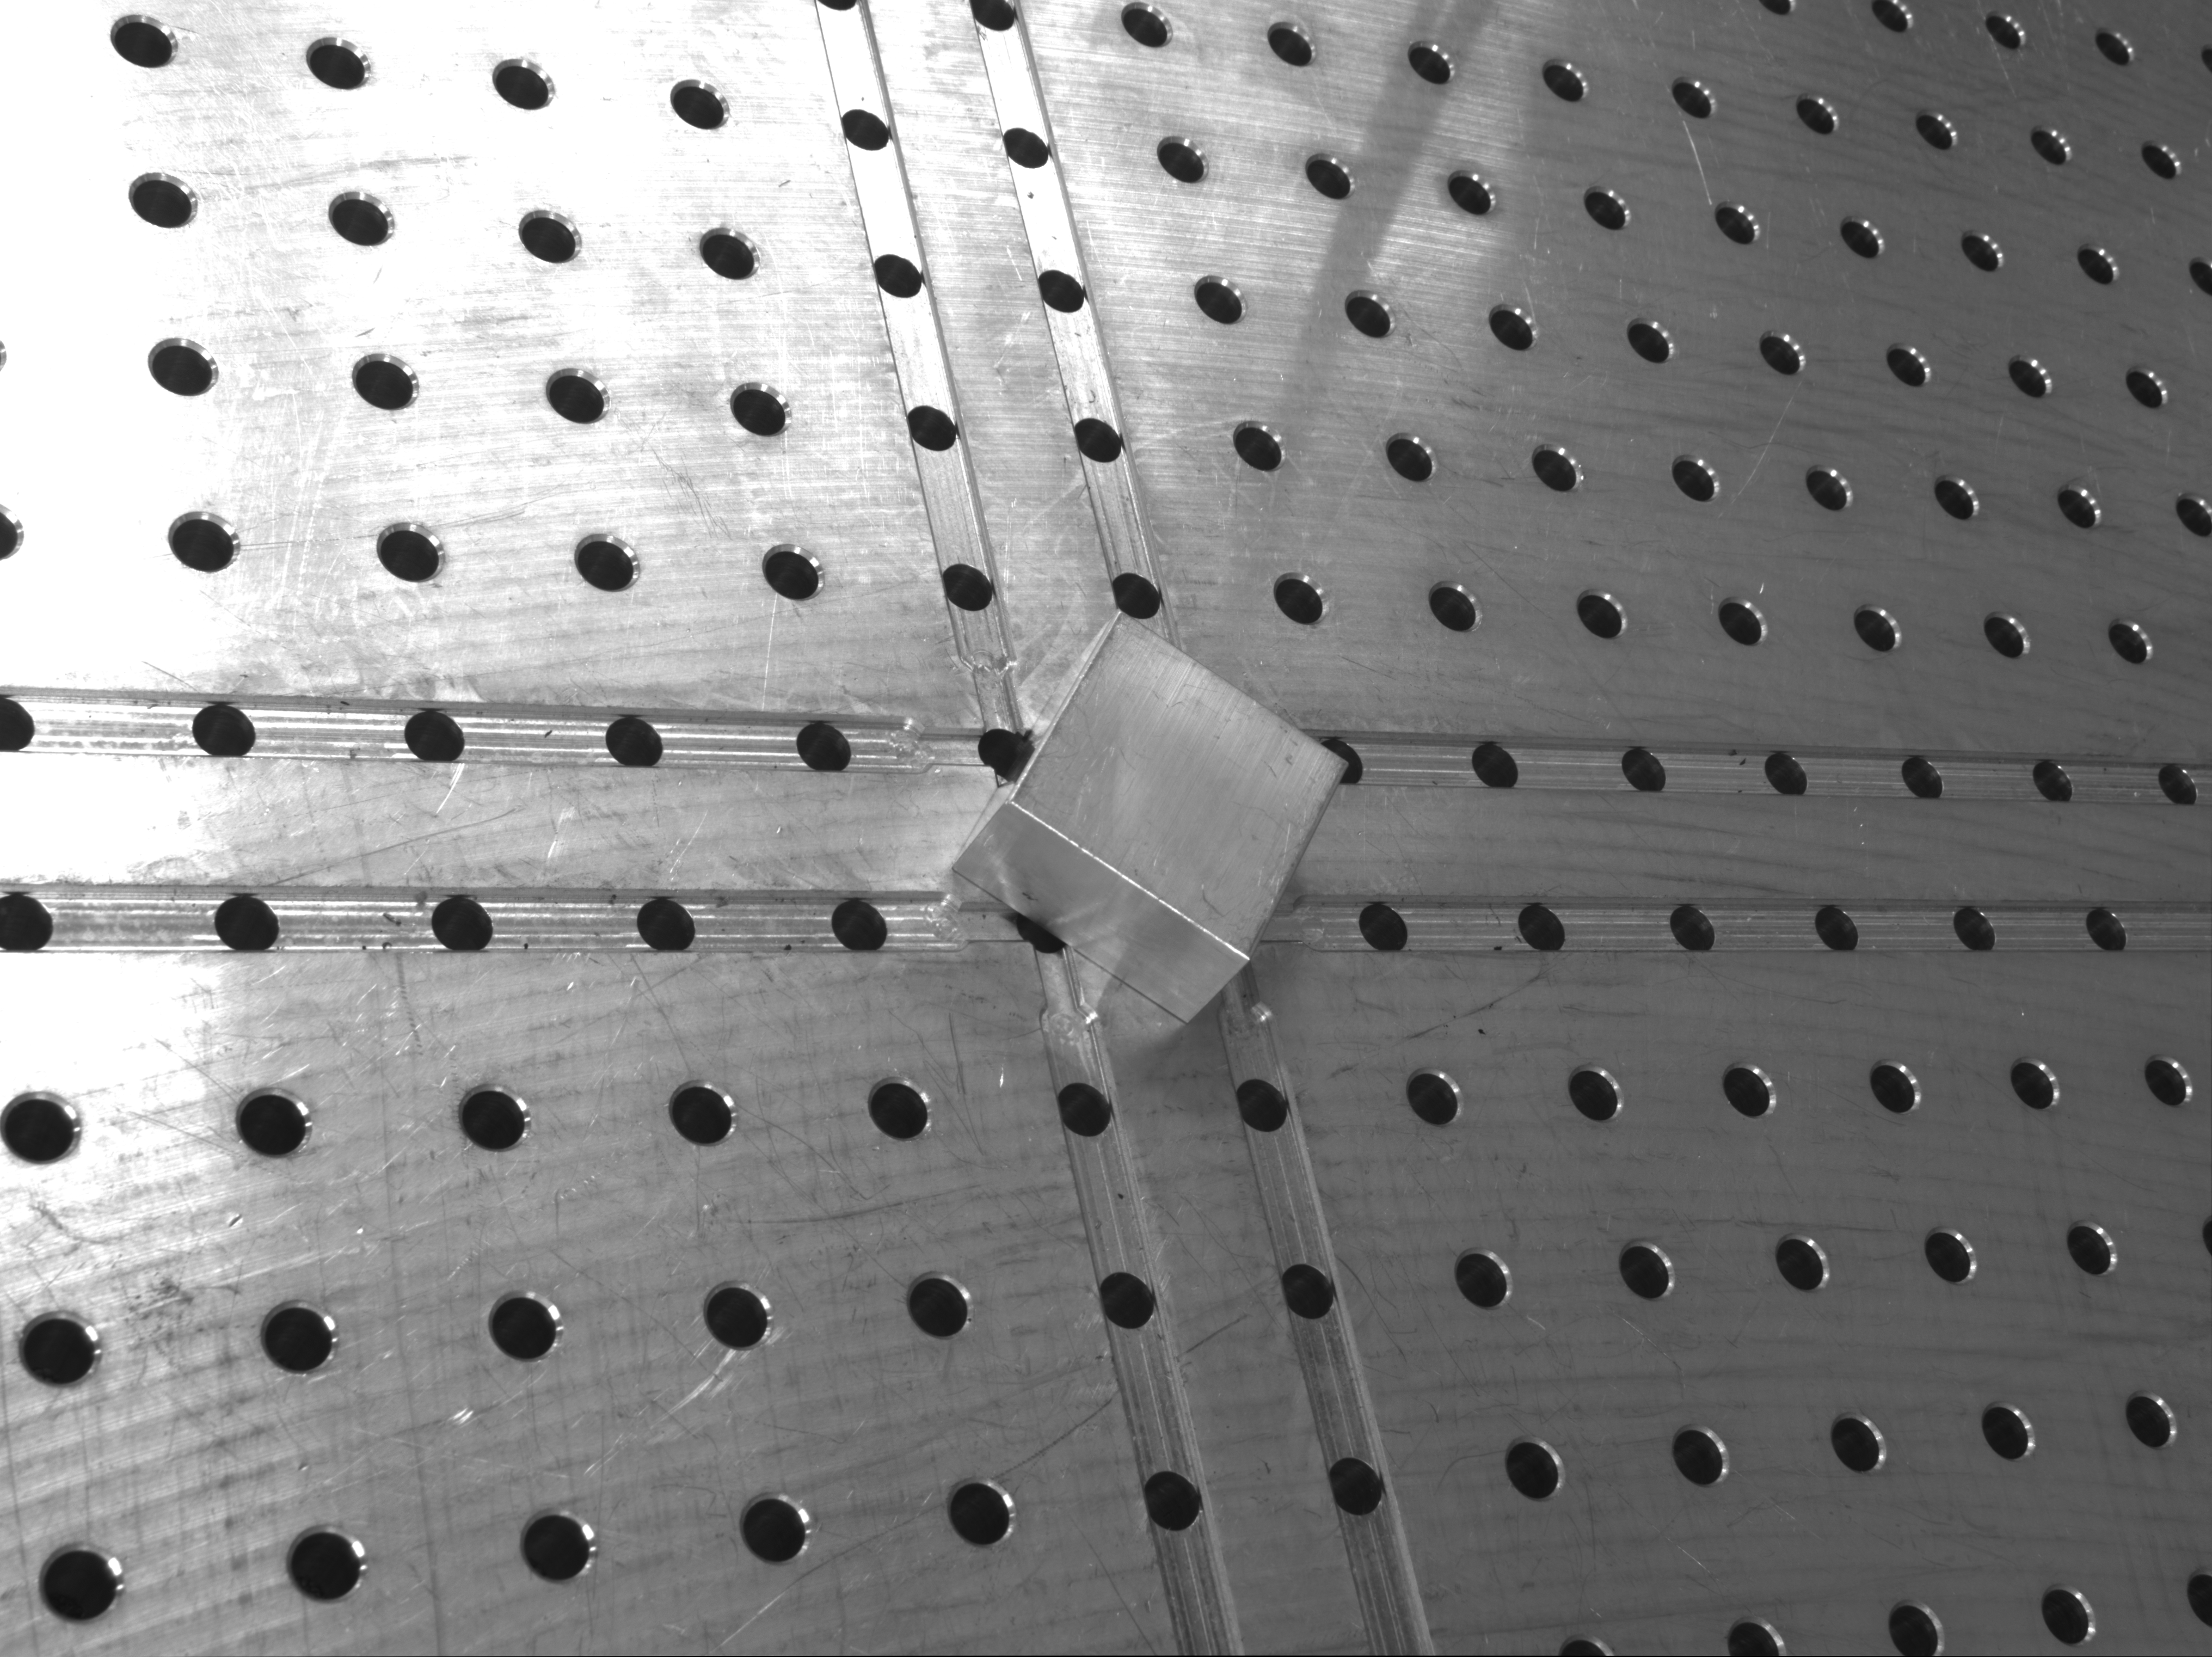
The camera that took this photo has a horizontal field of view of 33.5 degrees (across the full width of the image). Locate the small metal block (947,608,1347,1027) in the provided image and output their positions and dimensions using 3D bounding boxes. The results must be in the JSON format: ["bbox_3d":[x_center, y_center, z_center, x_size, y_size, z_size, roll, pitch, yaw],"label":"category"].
[{"bbox_3d":[0.008,-0.002,0.648,0.050,0.025,0.050,34,52,-6],"label":"small metal block"}]
